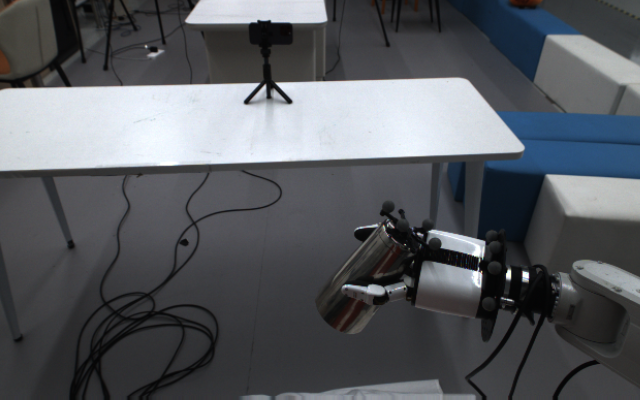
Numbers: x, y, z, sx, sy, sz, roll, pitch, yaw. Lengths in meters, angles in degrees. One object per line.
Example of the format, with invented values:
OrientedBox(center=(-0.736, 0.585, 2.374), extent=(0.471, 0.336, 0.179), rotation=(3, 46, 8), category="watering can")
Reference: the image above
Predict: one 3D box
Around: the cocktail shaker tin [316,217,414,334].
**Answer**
OrientedBox(center=(0.073, 0.103, 0.713), extent=(0.093, 0.170, 0.093), rotation=(26, 32, -18), category="cocktail shaker tin")
